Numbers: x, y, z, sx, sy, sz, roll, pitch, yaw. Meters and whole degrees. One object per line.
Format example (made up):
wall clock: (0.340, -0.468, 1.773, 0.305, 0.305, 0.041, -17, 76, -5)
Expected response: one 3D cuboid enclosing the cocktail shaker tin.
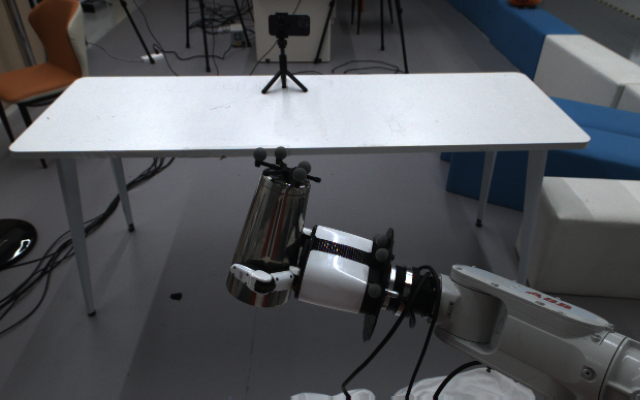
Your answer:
cocktail shaker tin: (-0.064, 0.047, 0.651, 0.093, 0.170, 0.093, 14, 20, -5)
